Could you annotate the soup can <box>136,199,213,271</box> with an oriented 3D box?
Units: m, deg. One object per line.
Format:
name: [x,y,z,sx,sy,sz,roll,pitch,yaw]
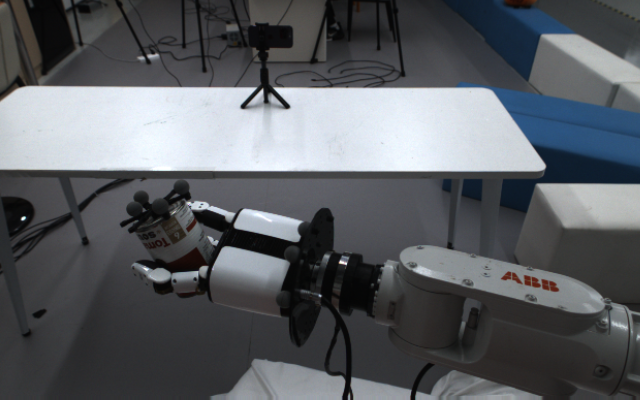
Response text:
soup can: [-0.164,0.057,0.578,0.067,0.101,0.067,-22,24,10]
